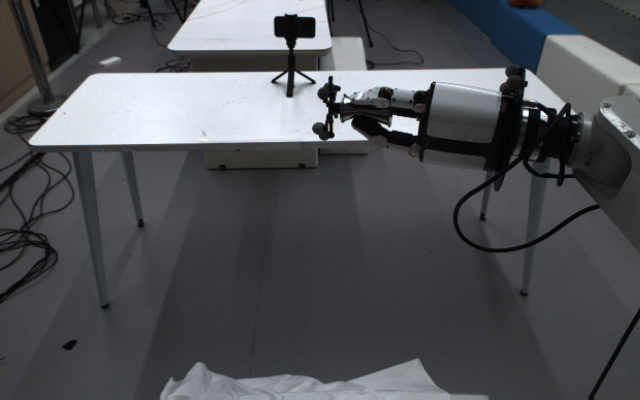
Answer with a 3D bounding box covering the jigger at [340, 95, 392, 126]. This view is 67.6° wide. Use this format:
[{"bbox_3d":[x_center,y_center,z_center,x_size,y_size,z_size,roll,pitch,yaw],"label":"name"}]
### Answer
[{"bbox_3d":[0.071,-0.129,0.671,0.071,0.043,0.043,5,35,12],"label":"jigger"}]
